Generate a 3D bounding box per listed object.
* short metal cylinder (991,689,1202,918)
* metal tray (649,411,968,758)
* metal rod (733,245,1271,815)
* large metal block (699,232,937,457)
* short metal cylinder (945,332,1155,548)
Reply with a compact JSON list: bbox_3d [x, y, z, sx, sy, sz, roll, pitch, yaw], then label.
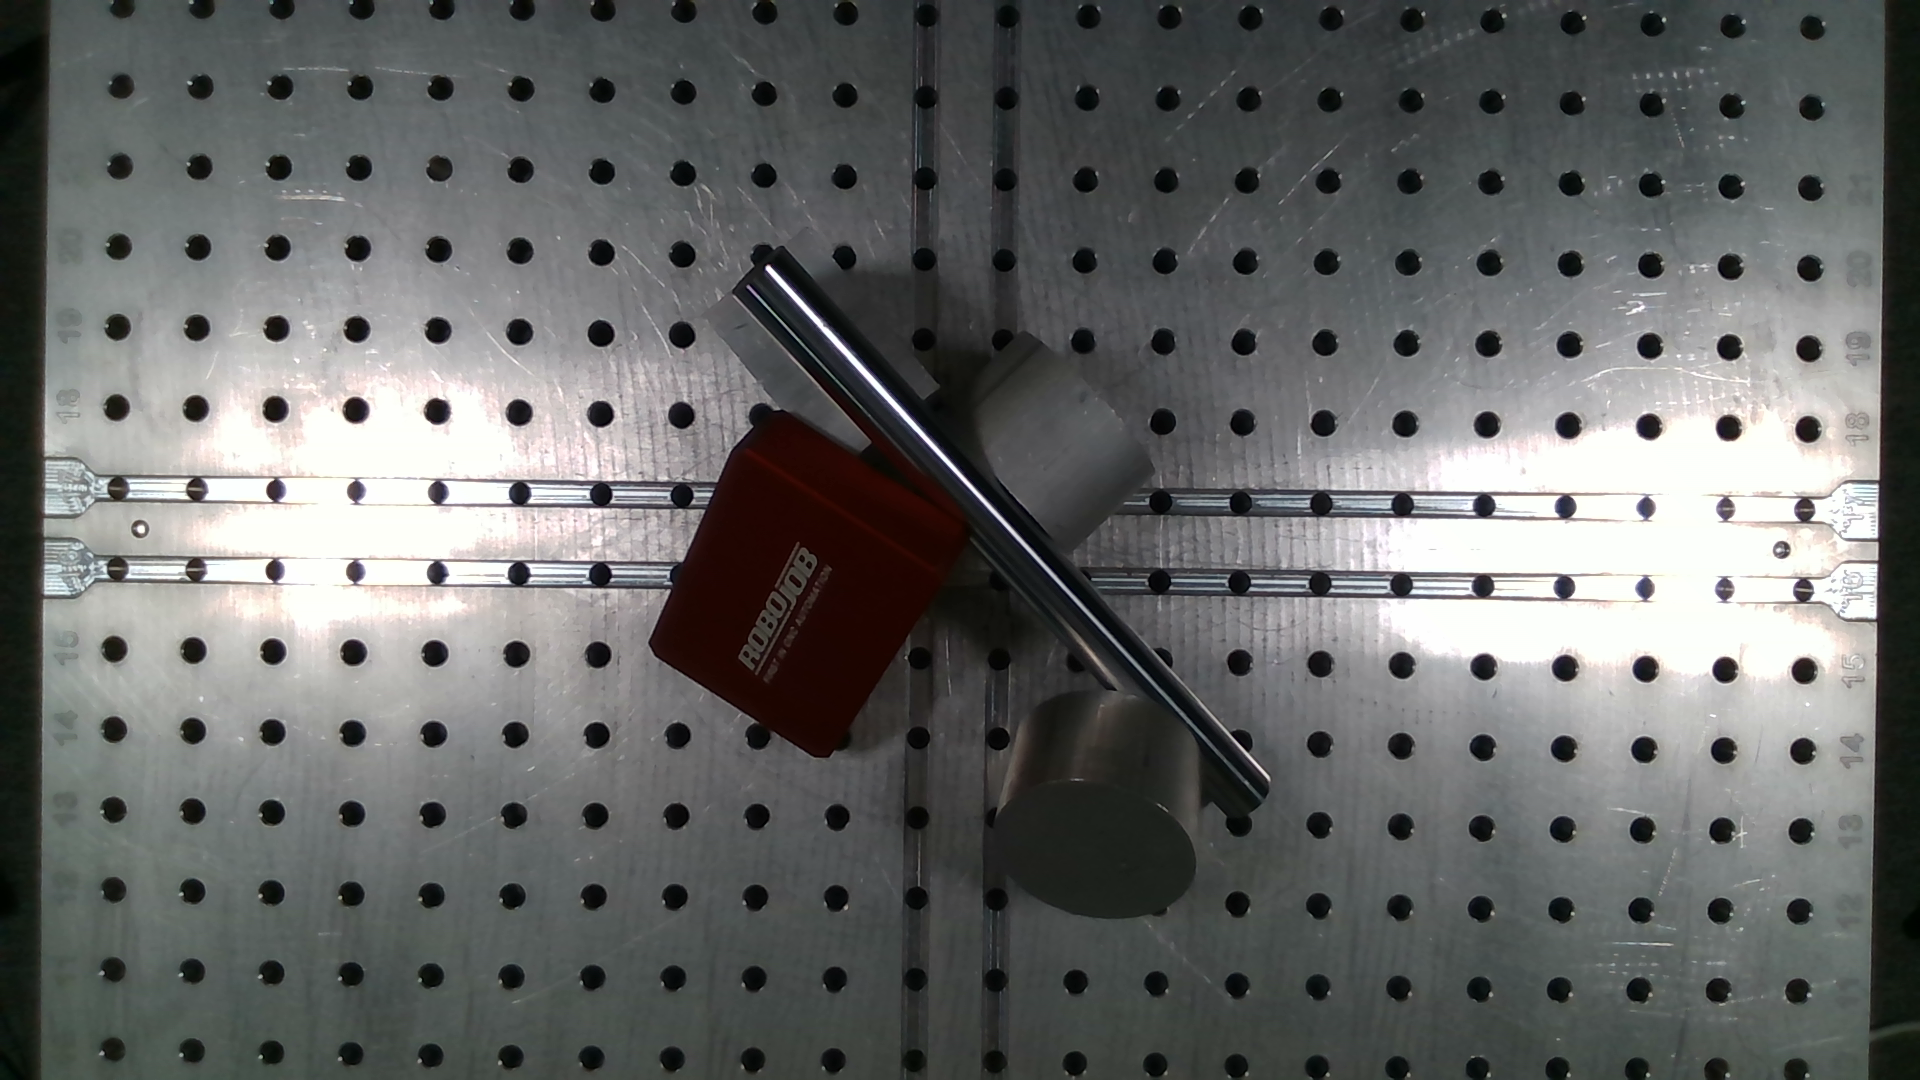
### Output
[{"bbox_3d":[0.057,0.107,0.558,0.080,0.050,0.080,7,128,10],"label":"short metal cylinder"},{"bbox_3d":[-0.064,0.022,0.547,0.090,0.030,0.130,32,132,0],"label":"metal tray"},{"bbox_3d":[0.026,0.007,0.536,0.025,0.025,0.301,-44,111,0],"label":"metal rod"},{"bbox_3d":[-0.054,-0.070,0.561,0.050,0.080,0.080,-40,90,0],"label":"large metal block"},{"bbox_3d":[0.034,-0.039,0.561,0.050,0.080,0.080,-44,90,0],"label":"short metal cylinder"}]
